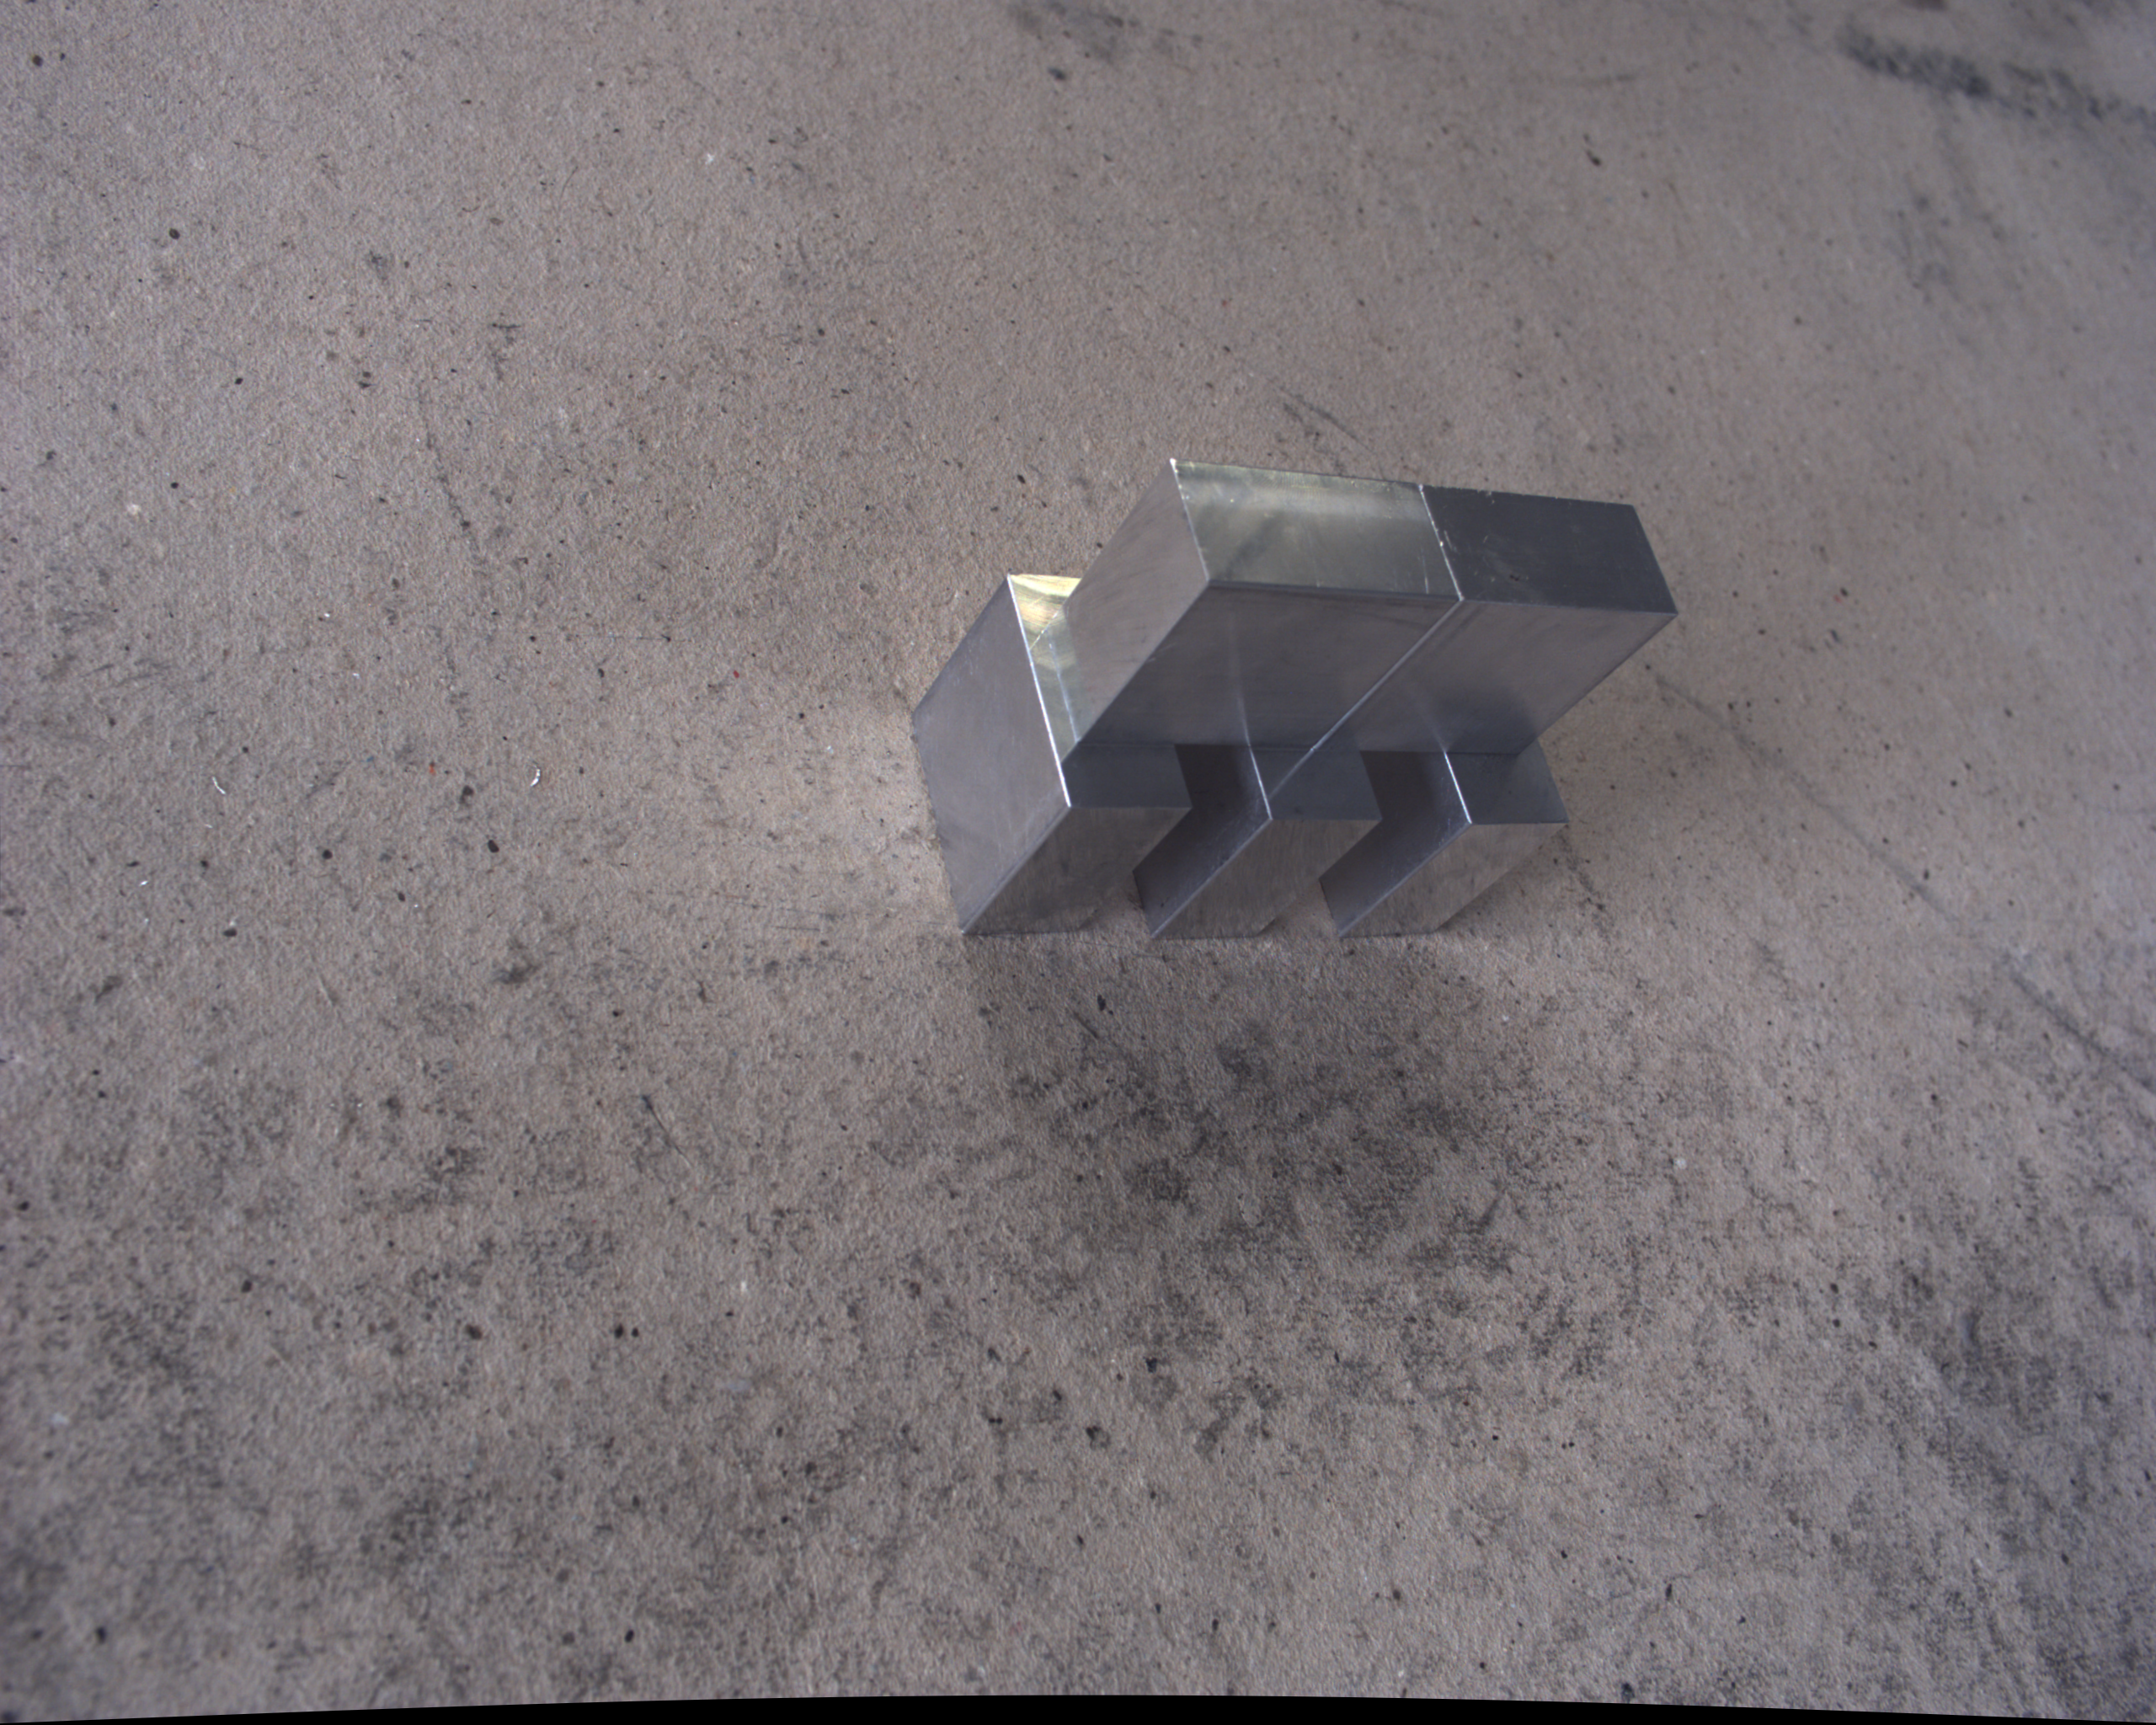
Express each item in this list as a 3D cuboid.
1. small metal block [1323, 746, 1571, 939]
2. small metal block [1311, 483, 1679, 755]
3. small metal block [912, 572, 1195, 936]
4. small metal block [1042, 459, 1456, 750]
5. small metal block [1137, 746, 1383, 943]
[{"bbox_3d":[0.071,-0.018,0.438,0.025,0.050,0.050,-2,62,-28],"label":"small metal block"},{"bbox_3d":[0.074,-0.044,0.391,0.050,0.050,0.025,0,62,-29],"label":"small metal block"},{"bbox_3d":[-0.006,-0.020,0.397,0.025,0.050,0.050,-1,62,-28],"label":"small metal block"},{"bbox_3d":[0.029,-0.044,0.368,0.050,0.050,0.025,0,62,-29],"label":"small metal block"},{"bbox_3d":[0.030,-0.018,0.417,0.025,0.050,0.050,-2,62,-28],"label":"small metal block"}]
